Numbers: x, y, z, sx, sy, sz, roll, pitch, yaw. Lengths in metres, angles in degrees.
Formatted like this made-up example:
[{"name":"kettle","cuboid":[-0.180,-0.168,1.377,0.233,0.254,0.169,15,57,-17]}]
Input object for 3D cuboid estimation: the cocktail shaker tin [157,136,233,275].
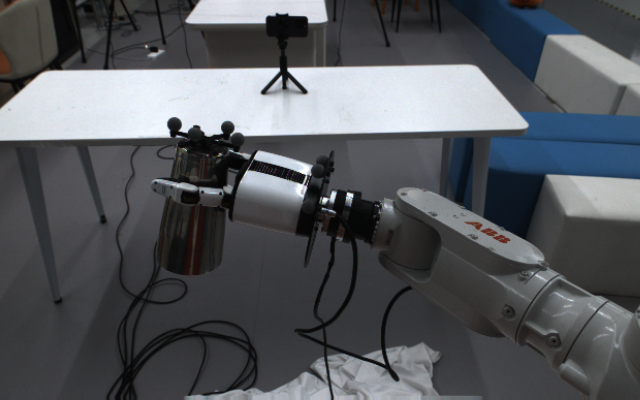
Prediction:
[{"name":"cocktail shaker tin","cuboid":[-0.164,0.003,0.652,0.093,0.170,0.093,12,26,-6]}]
